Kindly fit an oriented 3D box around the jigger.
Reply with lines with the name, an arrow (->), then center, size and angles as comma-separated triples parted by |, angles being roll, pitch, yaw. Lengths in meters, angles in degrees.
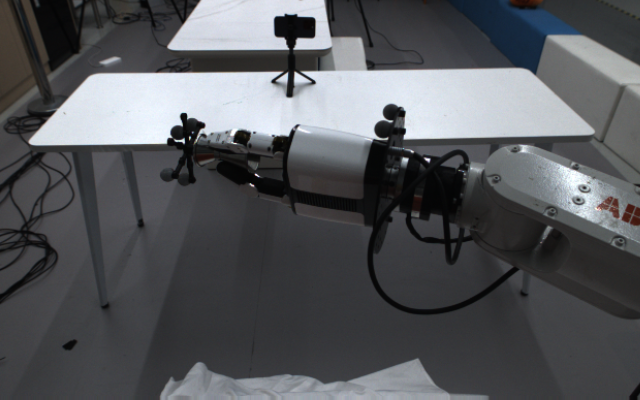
jigger -> -0.103, -0.059, 0.570 | 0.071, 0.043, 0.043 | 6, 35, 13
